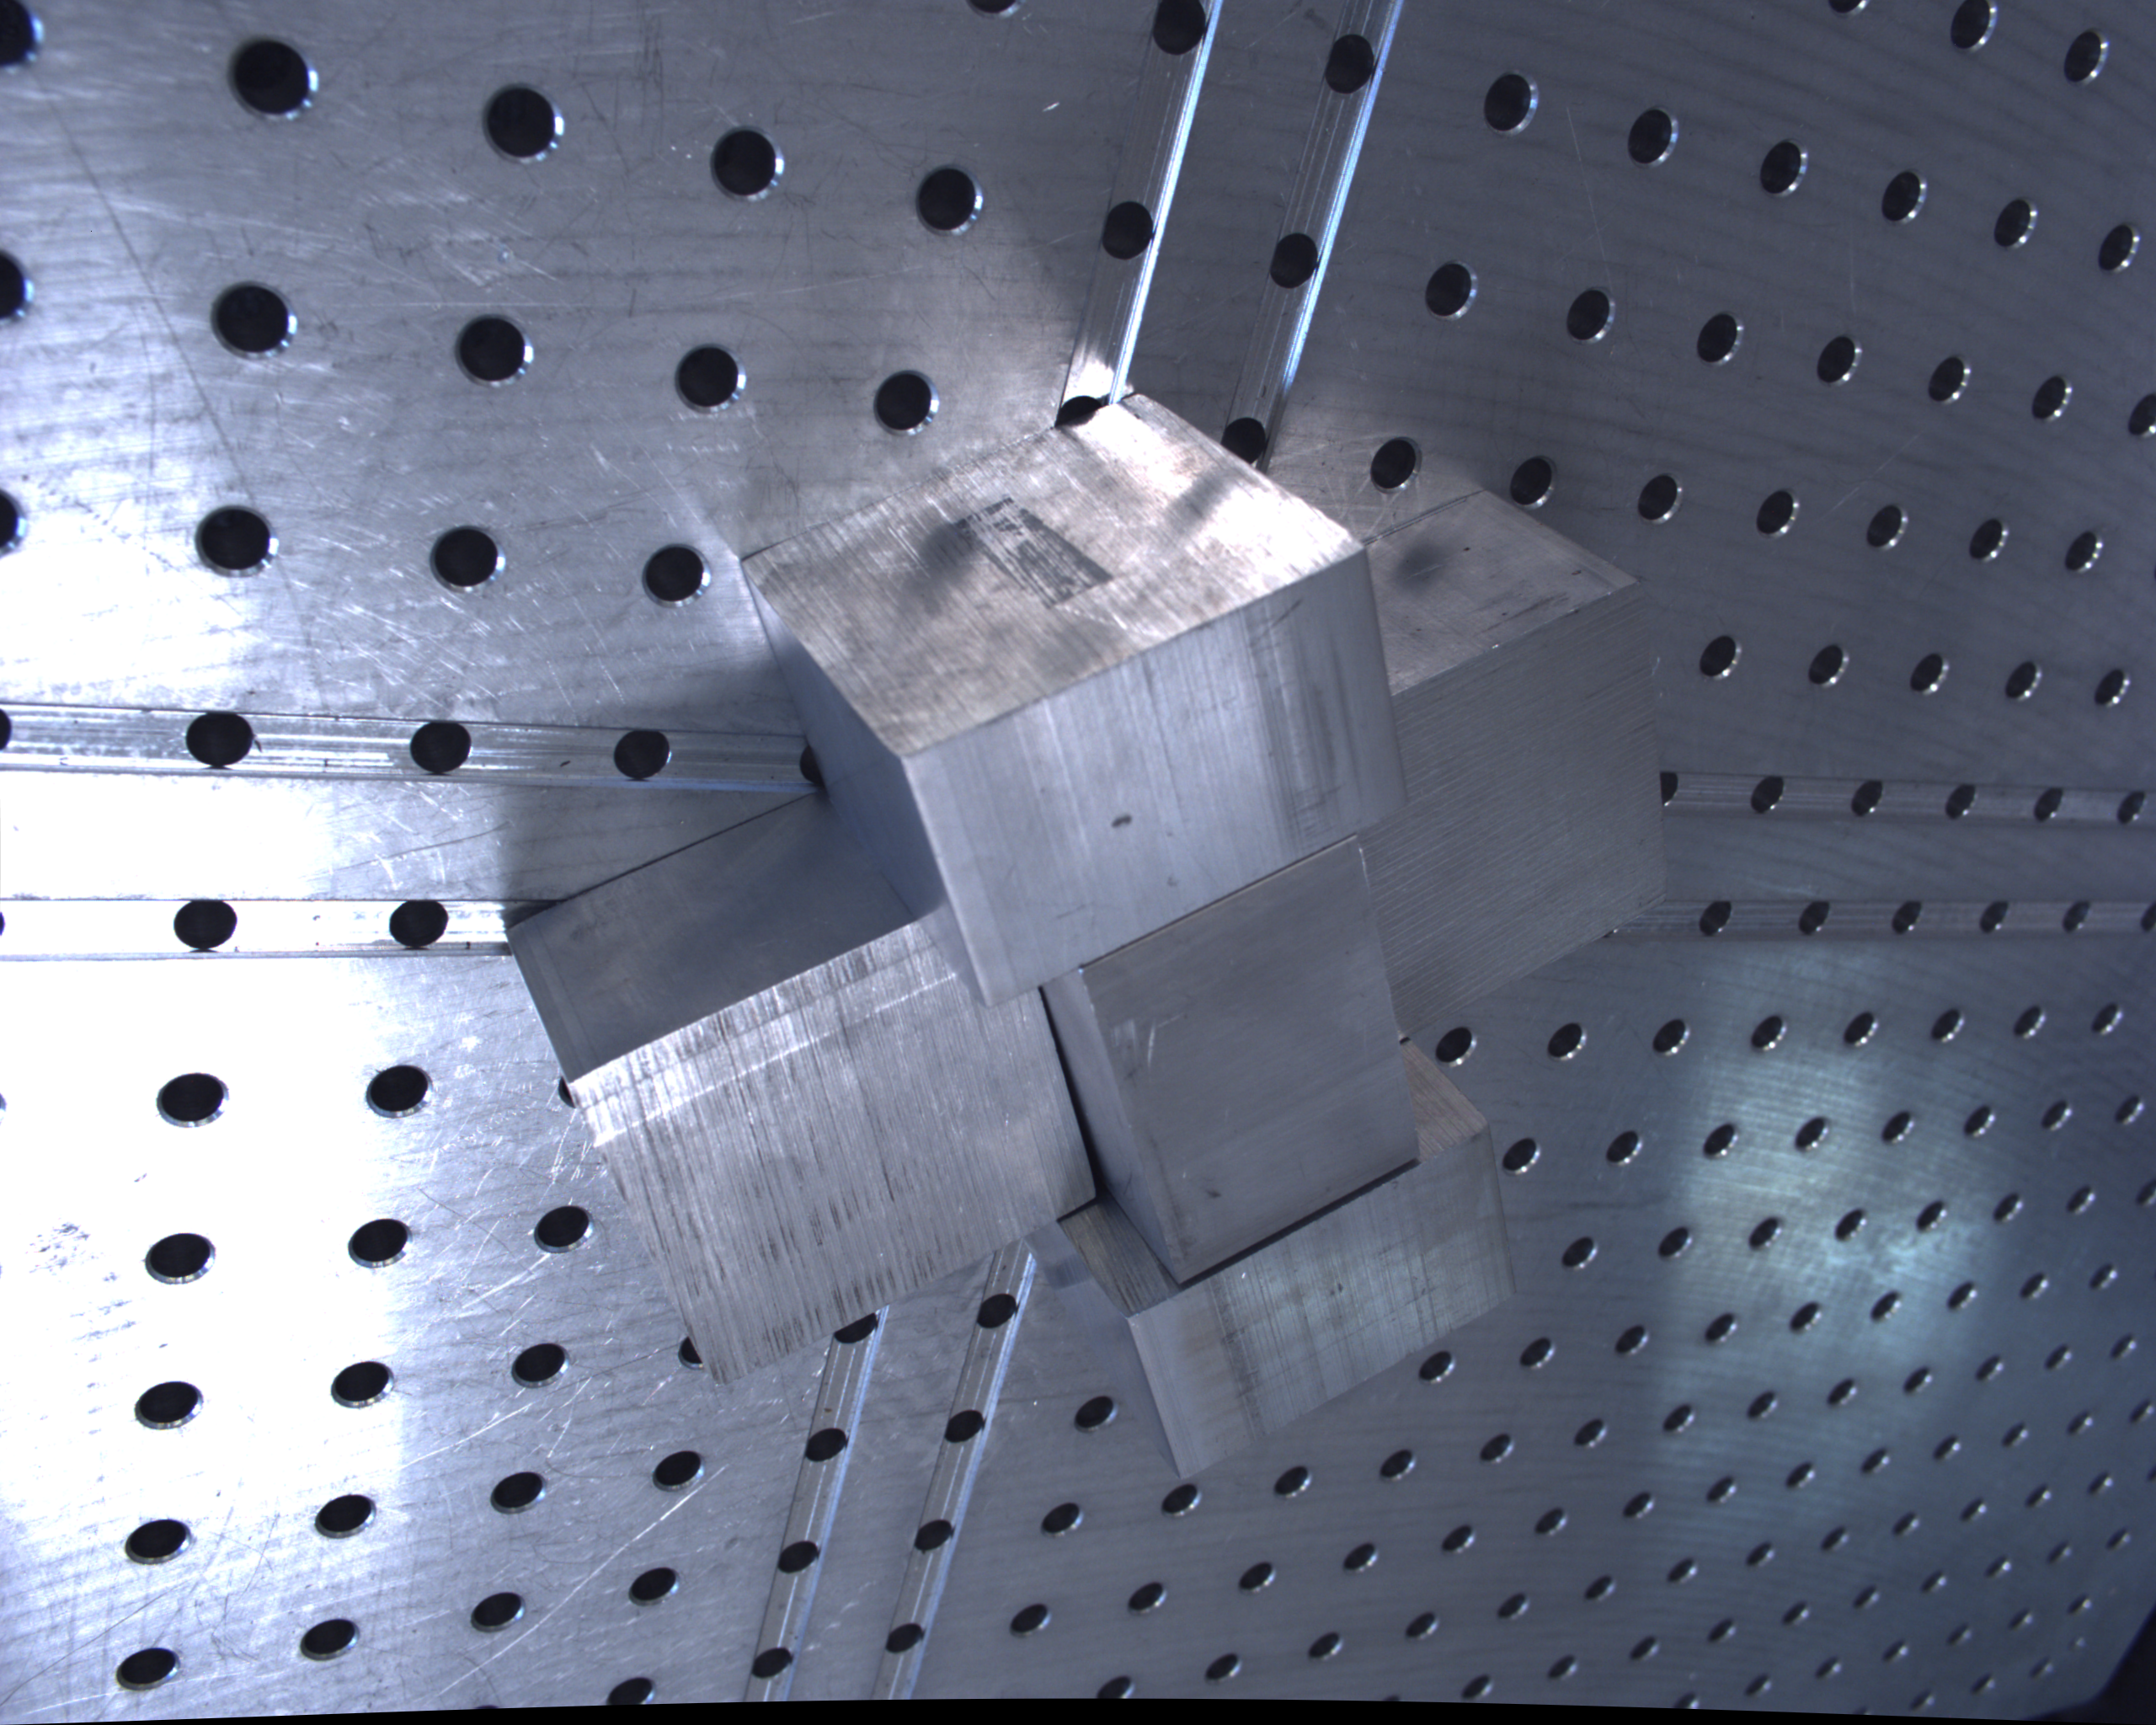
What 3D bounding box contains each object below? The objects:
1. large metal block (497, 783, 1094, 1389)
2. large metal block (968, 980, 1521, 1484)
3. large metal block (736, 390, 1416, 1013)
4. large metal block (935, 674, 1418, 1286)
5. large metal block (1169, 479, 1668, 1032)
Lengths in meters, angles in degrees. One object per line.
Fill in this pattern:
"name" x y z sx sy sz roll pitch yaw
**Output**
"large metal block" -0.051 0.038 0.391 0.080 0.050 0.080 -24 127 -14
"large metal block" 0.032 0.066 0.433 0.080 0.080 0.050 -26 128 -13
"large metal block" -0.002 -0.031 0.354 0.080 0.080 0.050 -25 127 -13
"large metal block" 0.016 0.017 0.394 0.050 0.080 0.080 -26 128 -12
"large metal block" 0.068 -0.018 0.419 0.080 0.050 0.080 -26 130 -12
